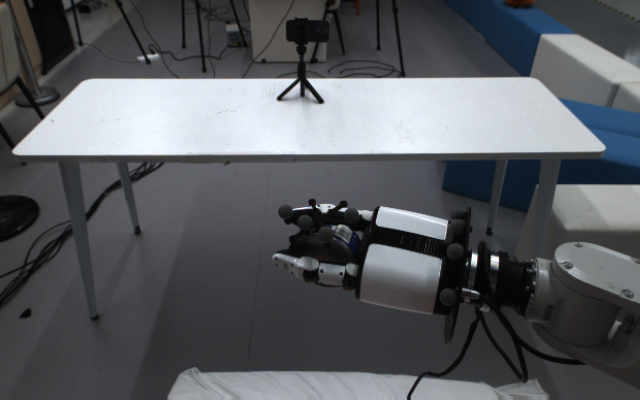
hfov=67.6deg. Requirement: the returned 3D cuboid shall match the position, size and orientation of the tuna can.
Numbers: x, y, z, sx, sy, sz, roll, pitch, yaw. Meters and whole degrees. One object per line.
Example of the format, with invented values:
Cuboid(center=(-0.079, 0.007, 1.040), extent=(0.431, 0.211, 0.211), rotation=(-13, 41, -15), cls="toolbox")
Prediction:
Cuboid(center=(0.010, 0.068, 0.579), extent=(0.085, 0.085, 0.034), rotation=(12, 39, 13), cls="tuna can")
